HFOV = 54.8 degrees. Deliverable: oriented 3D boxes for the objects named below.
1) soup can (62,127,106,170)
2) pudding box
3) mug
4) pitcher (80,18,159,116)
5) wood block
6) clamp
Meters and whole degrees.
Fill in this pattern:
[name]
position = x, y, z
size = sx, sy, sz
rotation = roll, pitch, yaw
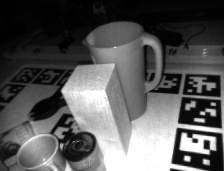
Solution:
[soup can]
position = -0.058, 0.147, 0.461
size = 0.067, 0.103, 0.067
rotation = -9, 40, 9
[pudding box]
position = -0.260, 0.149, 0.582
size = 0.090, 0.039, 0.112
rotation = -34, 41, -18
[mug]
position = -0.148, 0.165, 0.486
size = 0.094, 0.082, 0.115
rotation = -31, 39, -23
[pitcher]
position = 0.030, -0.040, 0.555
size = 0.187, 0.245, 0.133
rotation = -1, 38, 22
[wood block]
position = -0.026, 0.049, 0.487
size = 0.089, 0.208, 0.091
rotation = 2, 41, 16
[clamp]
position = -0.191, 0.050, 0.692
size = 0.166, 0.037, 0.120
rotation = -38, 51, -27
